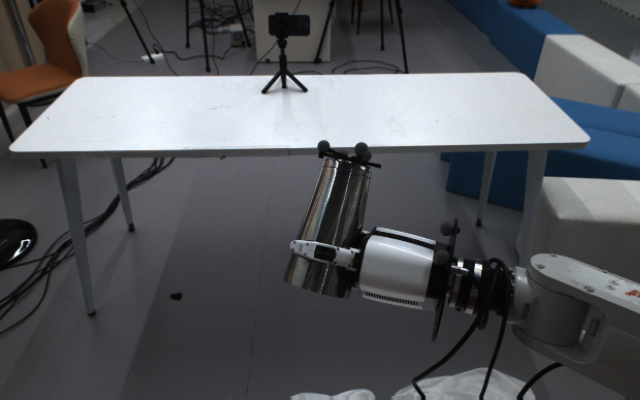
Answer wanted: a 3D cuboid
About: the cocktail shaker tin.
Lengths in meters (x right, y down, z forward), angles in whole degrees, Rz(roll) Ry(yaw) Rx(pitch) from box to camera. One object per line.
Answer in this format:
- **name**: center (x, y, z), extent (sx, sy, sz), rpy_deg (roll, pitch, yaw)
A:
- **cocktail shaker tin**: center (0.016, 0.036, 0.648), extent (0.093, 0.170, 0.093), rpy_deg (15, -4, 1)
